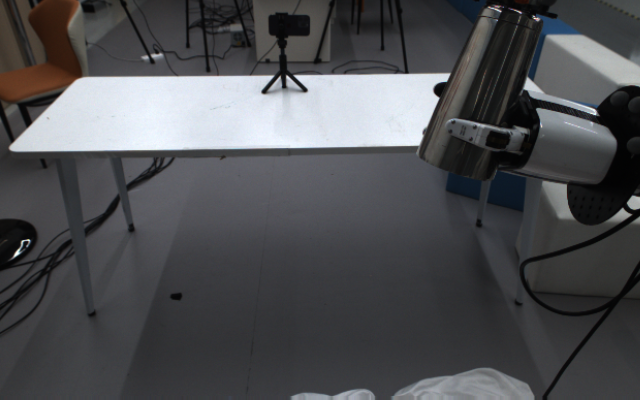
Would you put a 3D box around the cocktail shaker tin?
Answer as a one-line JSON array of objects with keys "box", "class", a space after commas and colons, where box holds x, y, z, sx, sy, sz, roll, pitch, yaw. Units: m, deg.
[{"box": [0.180, -0.118, 0.536, 0.093, 0.170, 0.093, 14, 20, -5], "class": "cocktail shaker tin"}]
